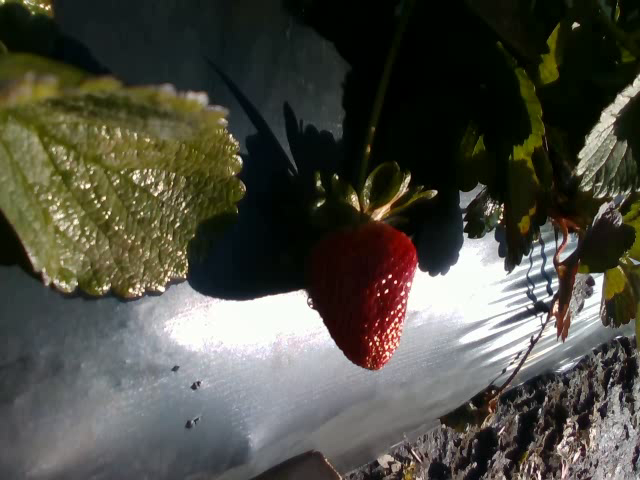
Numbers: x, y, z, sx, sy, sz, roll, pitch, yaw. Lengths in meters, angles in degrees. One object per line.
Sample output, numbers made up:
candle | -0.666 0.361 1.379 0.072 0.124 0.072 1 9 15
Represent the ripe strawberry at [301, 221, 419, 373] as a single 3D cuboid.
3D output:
ripe strawberry | 0.014 0.019 0.195 0.043 0.050 0.043 -12 -30 19
